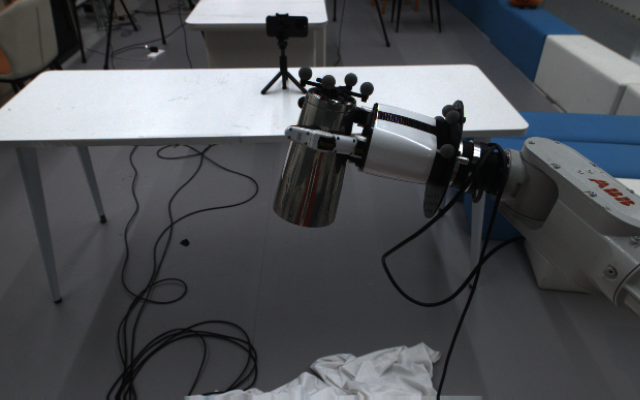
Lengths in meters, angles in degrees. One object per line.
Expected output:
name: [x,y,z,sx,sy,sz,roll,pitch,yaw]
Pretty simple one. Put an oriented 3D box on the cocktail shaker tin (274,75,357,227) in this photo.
cocktail shaker tin: [0.000,-0.062,0.657,0.093,0.170,0.093,12,25,-6]
